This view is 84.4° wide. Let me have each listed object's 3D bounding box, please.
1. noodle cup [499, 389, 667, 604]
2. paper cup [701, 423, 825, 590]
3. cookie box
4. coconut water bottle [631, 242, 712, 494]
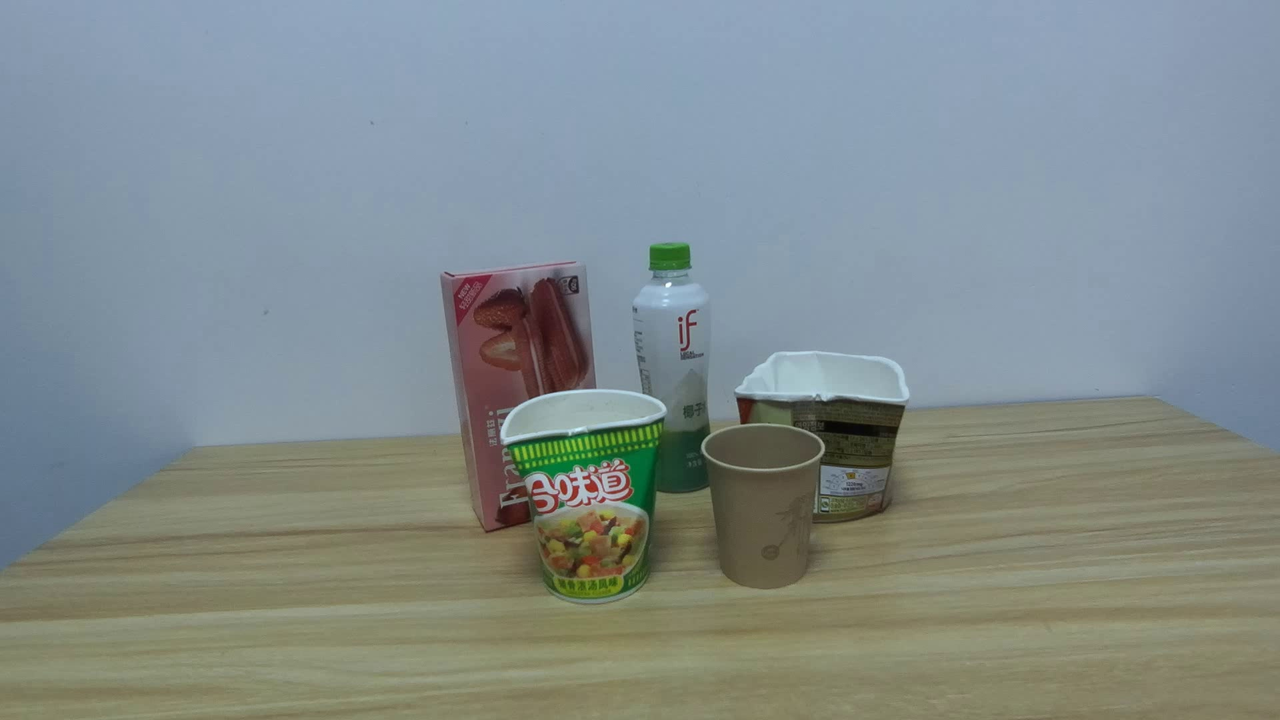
[{"bbox_3d":[-0.028,0.082,0.439,0.093,0.109,0.087,-1,16,8],"label":"noodle cup"},{"bbox_3d":[0.076,0.090,0.435,0.075,0.082,0.075,-3,15,1],"label":"paper cup"},{"bbox_3d":[-0.084,0.024,0.526,0.096,0.184,0.048,-10,15,-22],"label":"cookie box"},{"bbox_3d":[0.027,0.006,0.554,0.063,0.188,0.063,-3,14,1],"label":"coconut water bottle"}]
